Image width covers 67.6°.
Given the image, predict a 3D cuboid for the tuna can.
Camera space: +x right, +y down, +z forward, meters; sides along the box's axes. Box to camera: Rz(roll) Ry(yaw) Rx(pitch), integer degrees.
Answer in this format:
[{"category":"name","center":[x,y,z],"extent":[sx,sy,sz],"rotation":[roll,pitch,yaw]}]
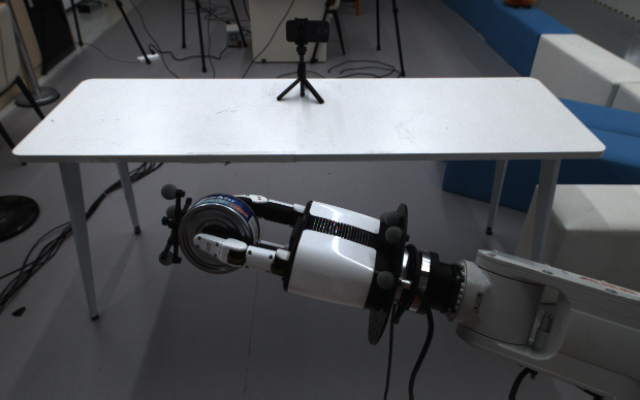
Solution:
[{"category":"tuna can","center":[-0.109,0.037,0.538],"extent":[0.085,0.085,0.034],"rotation":[4,18,3]}]
